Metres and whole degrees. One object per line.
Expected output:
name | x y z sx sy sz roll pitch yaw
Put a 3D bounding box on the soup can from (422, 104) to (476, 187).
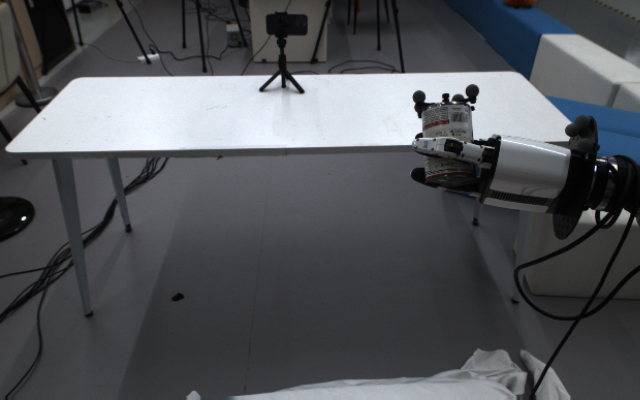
soup can | 0.174 -0.074 0.652 0.067 0.101 0.067 -1 -9 0
